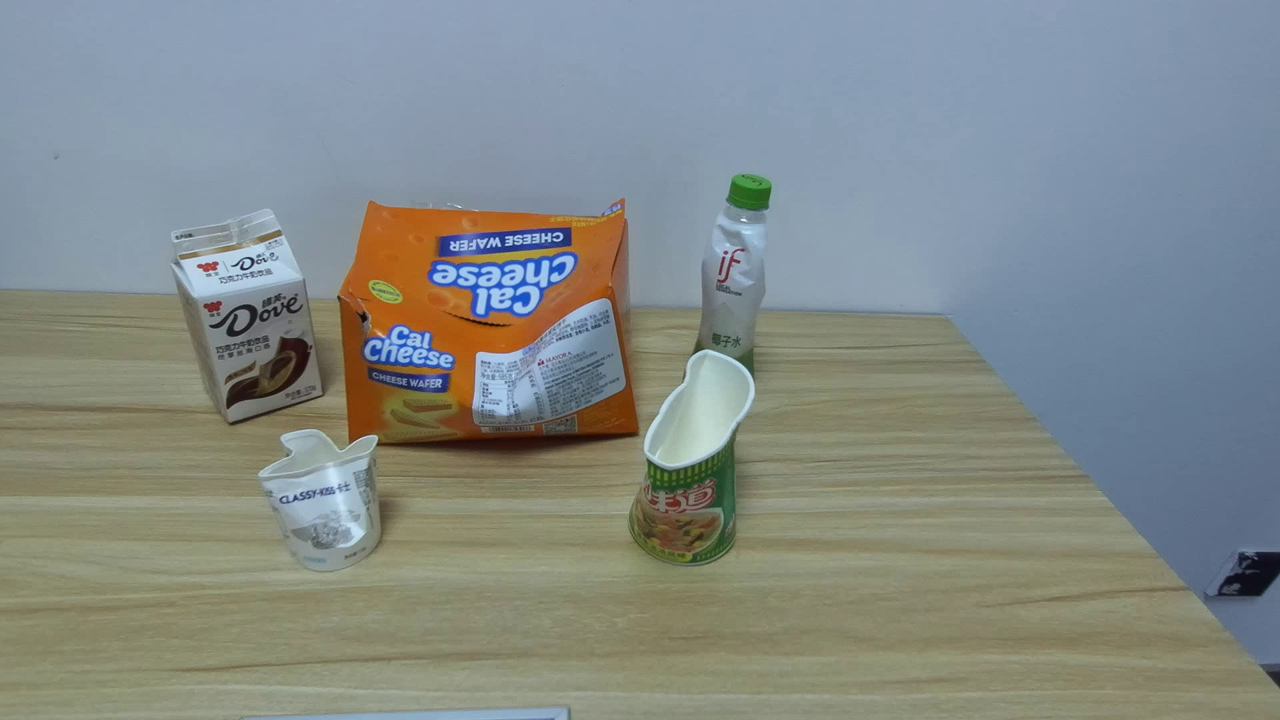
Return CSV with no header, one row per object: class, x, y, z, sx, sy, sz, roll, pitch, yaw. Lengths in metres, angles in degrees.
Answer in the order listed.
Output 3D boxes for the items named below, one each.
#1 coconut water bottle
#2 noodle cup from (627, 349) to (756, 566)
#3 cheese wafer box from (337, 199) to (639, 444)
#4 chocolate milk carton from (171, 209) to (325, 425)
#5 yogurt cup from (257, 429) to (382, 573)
coconut water bottle,0.075,-0.052,0.567,0.067,0.187,0.067,4,29,-2
noodle cup,0.031,0.068,0.444,0.070,0.111,0.115,26,38,31
cheese wafer box,-0.110,-0.030,0.556,0.219,0.145,0.191,0,32,-8
chocolate milk carton,-0.299,-0.038,0.536,0.076,0.148,0.073,-21,39,-38
yogurt cup,-0.188,0.082,0.427,0.055,0.072,0.055,5,31,0
